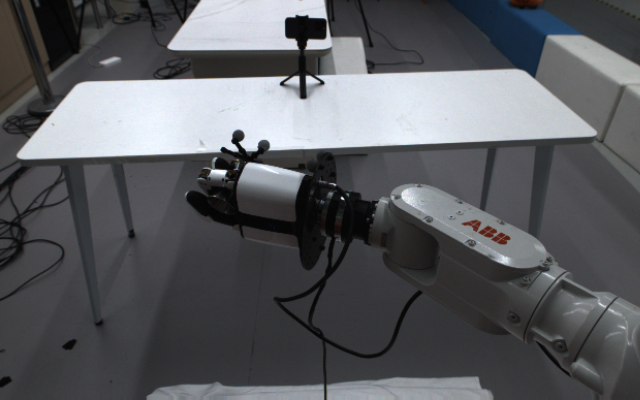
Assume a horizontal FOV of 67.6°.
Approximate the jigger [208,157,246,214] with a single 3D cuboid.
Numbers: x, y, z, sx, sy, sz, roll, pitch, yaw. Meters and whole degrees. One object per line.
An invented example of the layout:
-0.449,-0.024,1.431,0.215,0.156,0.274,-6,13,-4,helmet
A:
-0.122,-0.021,0.679,0.043,0.043,0.071,15,59,18,jigger
